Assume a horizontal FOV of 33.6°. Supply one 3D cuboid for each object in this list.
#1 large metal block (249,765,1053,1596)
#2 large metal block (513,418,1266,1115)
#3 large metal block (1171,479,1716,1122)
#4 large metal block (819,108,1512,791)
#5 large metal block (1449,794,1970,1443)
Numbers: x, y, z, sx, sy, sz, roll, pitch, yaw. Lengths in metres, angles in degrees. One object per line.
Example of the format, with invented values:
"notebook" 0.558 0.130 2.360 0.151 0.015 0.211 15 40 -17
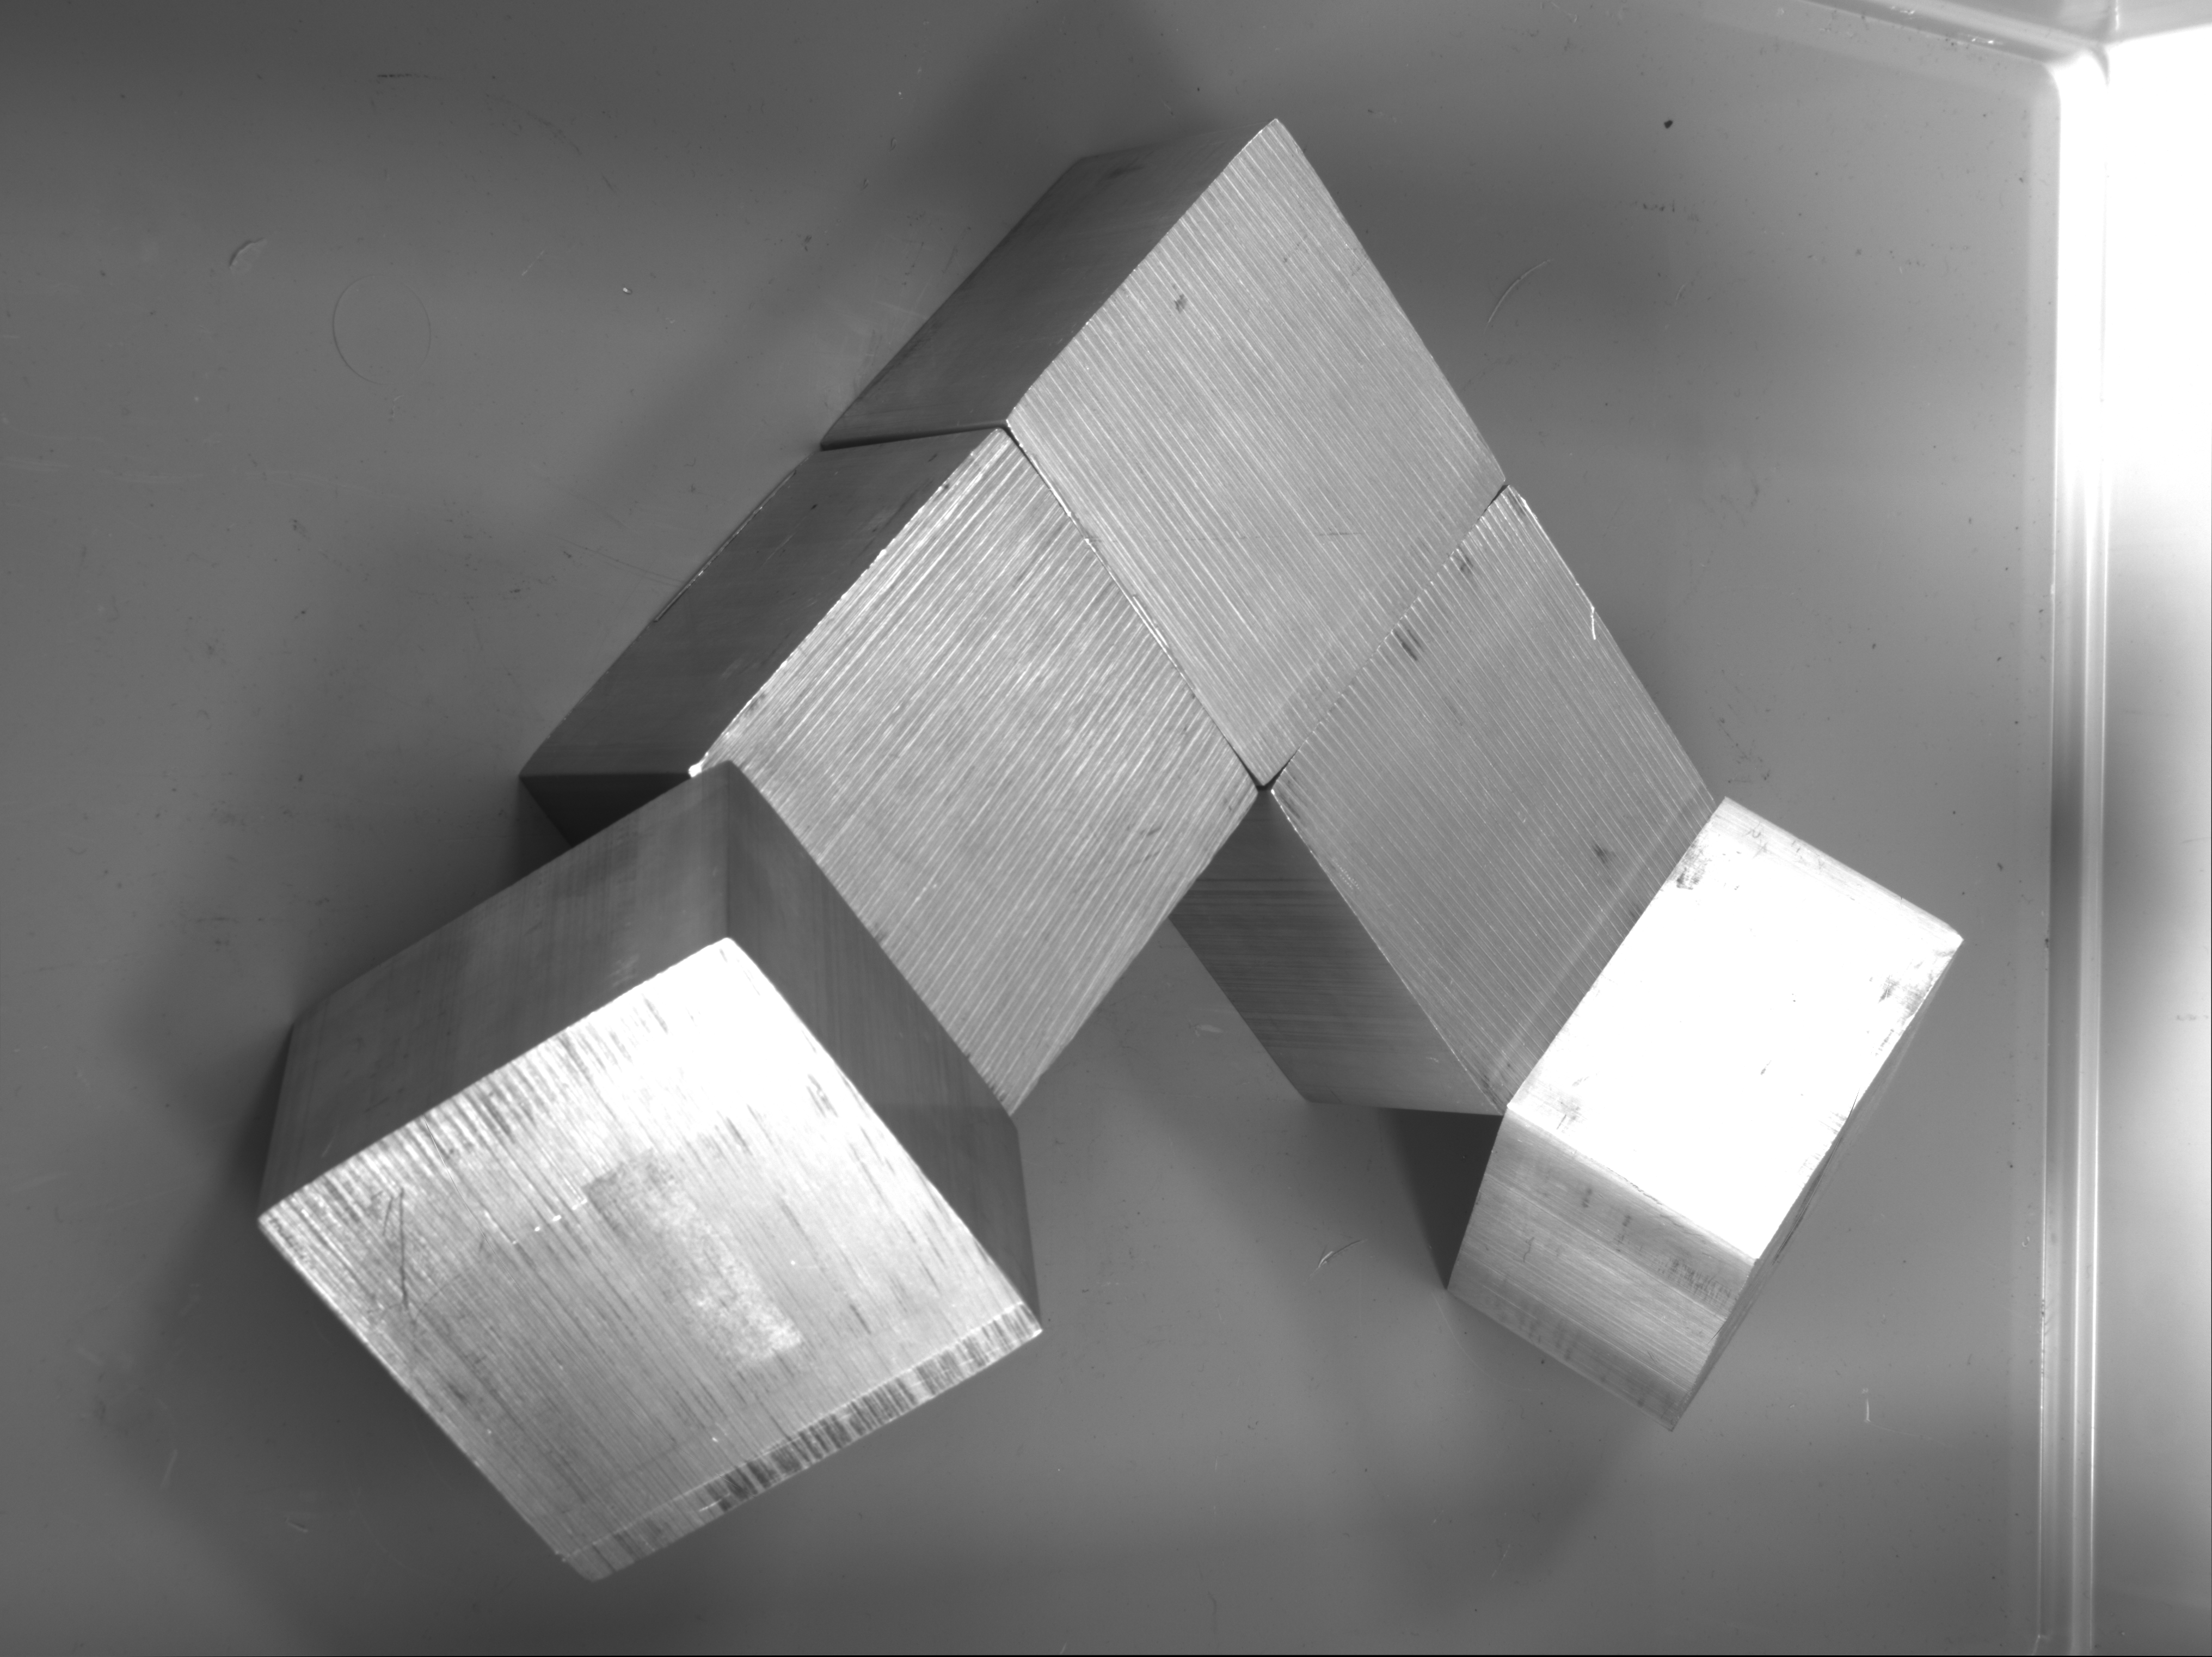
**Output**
"large metal block" -0.065 0.052 0.536 0.080 0.050 0.080 -31 117 10
"large metal block" -0.033 -0.007 0.590 0.080 0.050 0.080 -51 120 -27
"large metal block" 0.055 -0.005 0.663 0.080 0.050 0.080 -51 120 -27
"large metal block" 0.012 -0.063 0.628 0.080 0.050 0.080 -51 120 -27
"large metal block" 0.111 0.055 0.682 0.080 0.050 0.080 -51 163 -27
